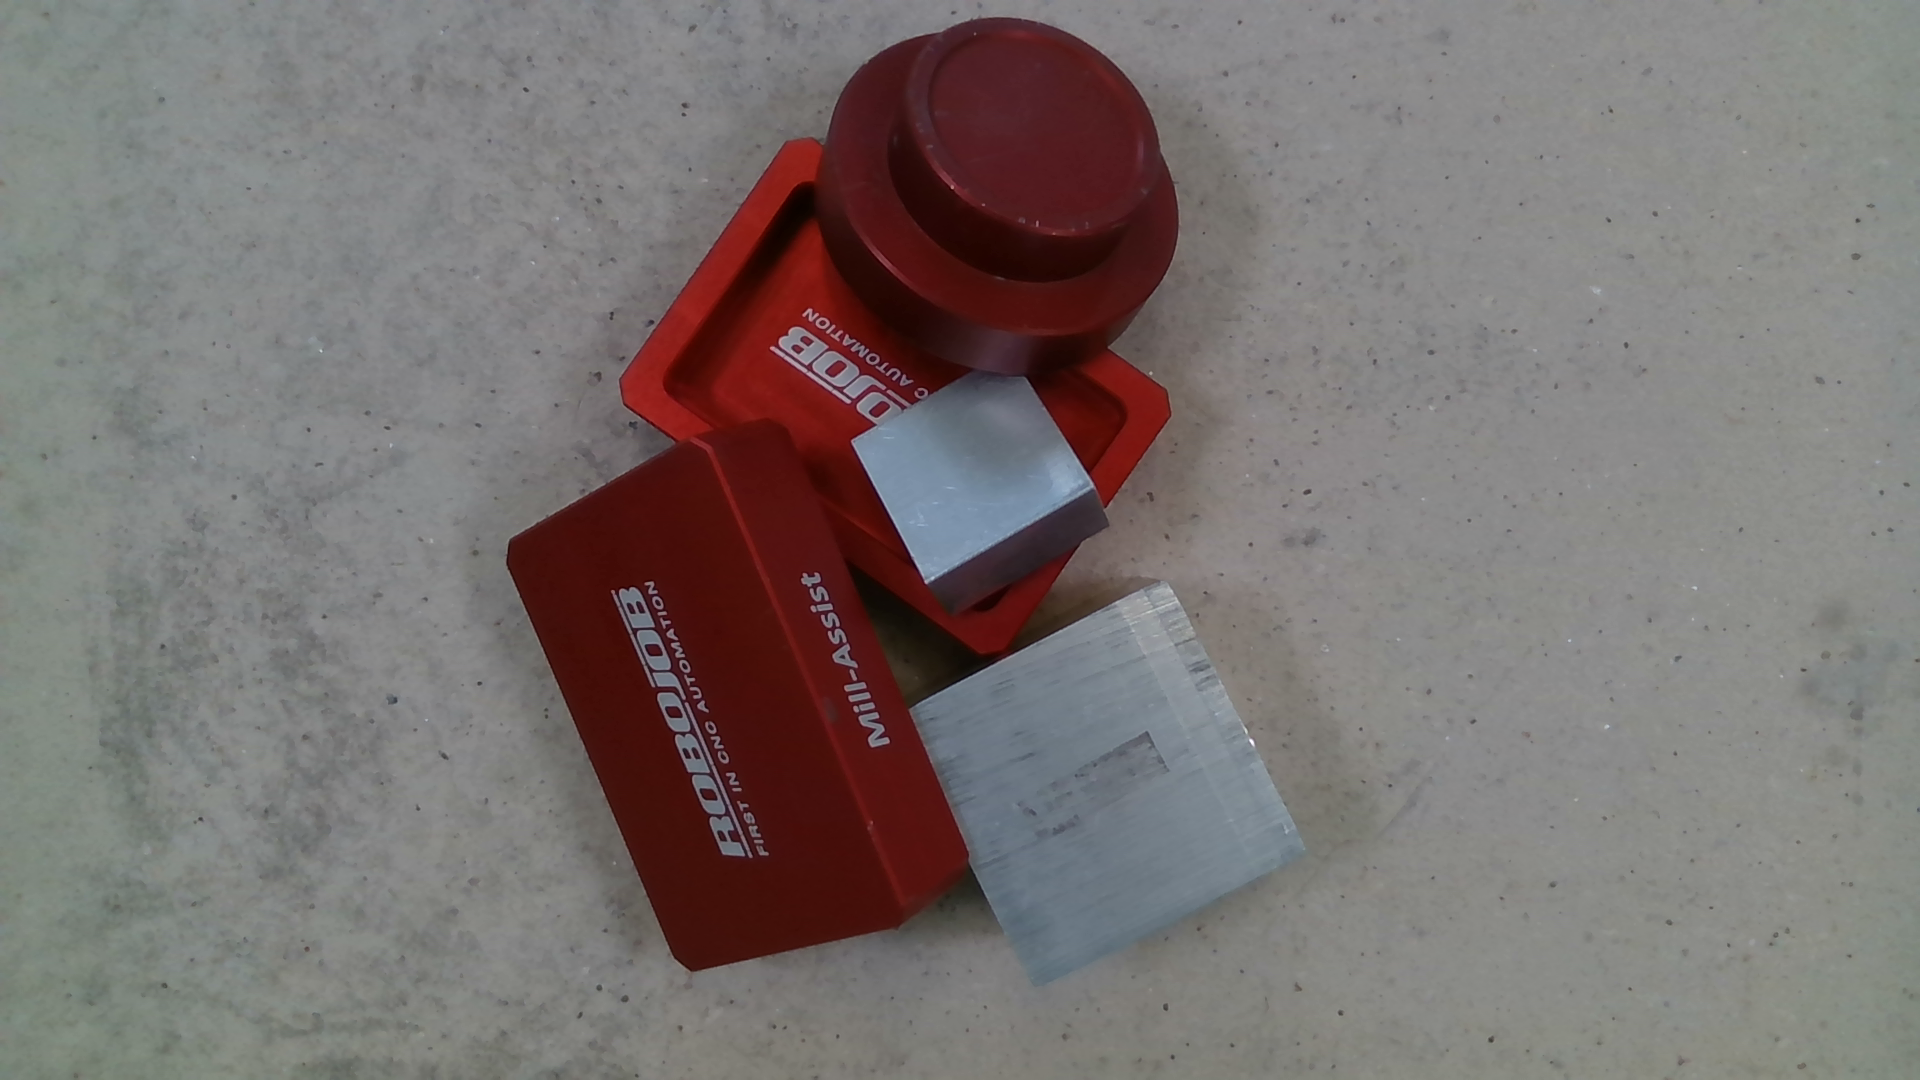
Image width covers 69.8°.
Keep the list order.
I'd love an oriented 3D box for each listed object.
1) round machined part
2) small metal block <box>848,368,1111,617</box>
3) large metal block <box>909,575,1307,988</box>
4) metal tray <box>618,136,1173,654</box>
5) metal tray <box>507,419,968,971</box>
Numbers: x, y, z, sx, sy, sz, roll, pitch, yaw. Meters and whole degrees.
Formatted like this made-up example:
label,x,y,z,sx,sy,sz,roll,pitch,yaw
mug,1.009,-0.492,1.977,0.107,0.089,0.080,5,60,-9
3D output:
label,x,y,z,sx,sy,sz,roll,pitch,yaw
round machined part,0.014,-0.097,0.366,0.098,0.042,0.098,8,64,-15
small metal block,0.005,-0.016,0.373,0.050,0.025,0.050,-30,62,2
large metal block,0.037,0.063,0.384,0.080,0.050,0.080,-27,90,0
metal tray,-0.018,-0.040,0.392,0.130,0.030,0.090,35,90,0
metal tray,-0.062,0.044,0.370,0.090,0.030,0.130,-23,90,36
